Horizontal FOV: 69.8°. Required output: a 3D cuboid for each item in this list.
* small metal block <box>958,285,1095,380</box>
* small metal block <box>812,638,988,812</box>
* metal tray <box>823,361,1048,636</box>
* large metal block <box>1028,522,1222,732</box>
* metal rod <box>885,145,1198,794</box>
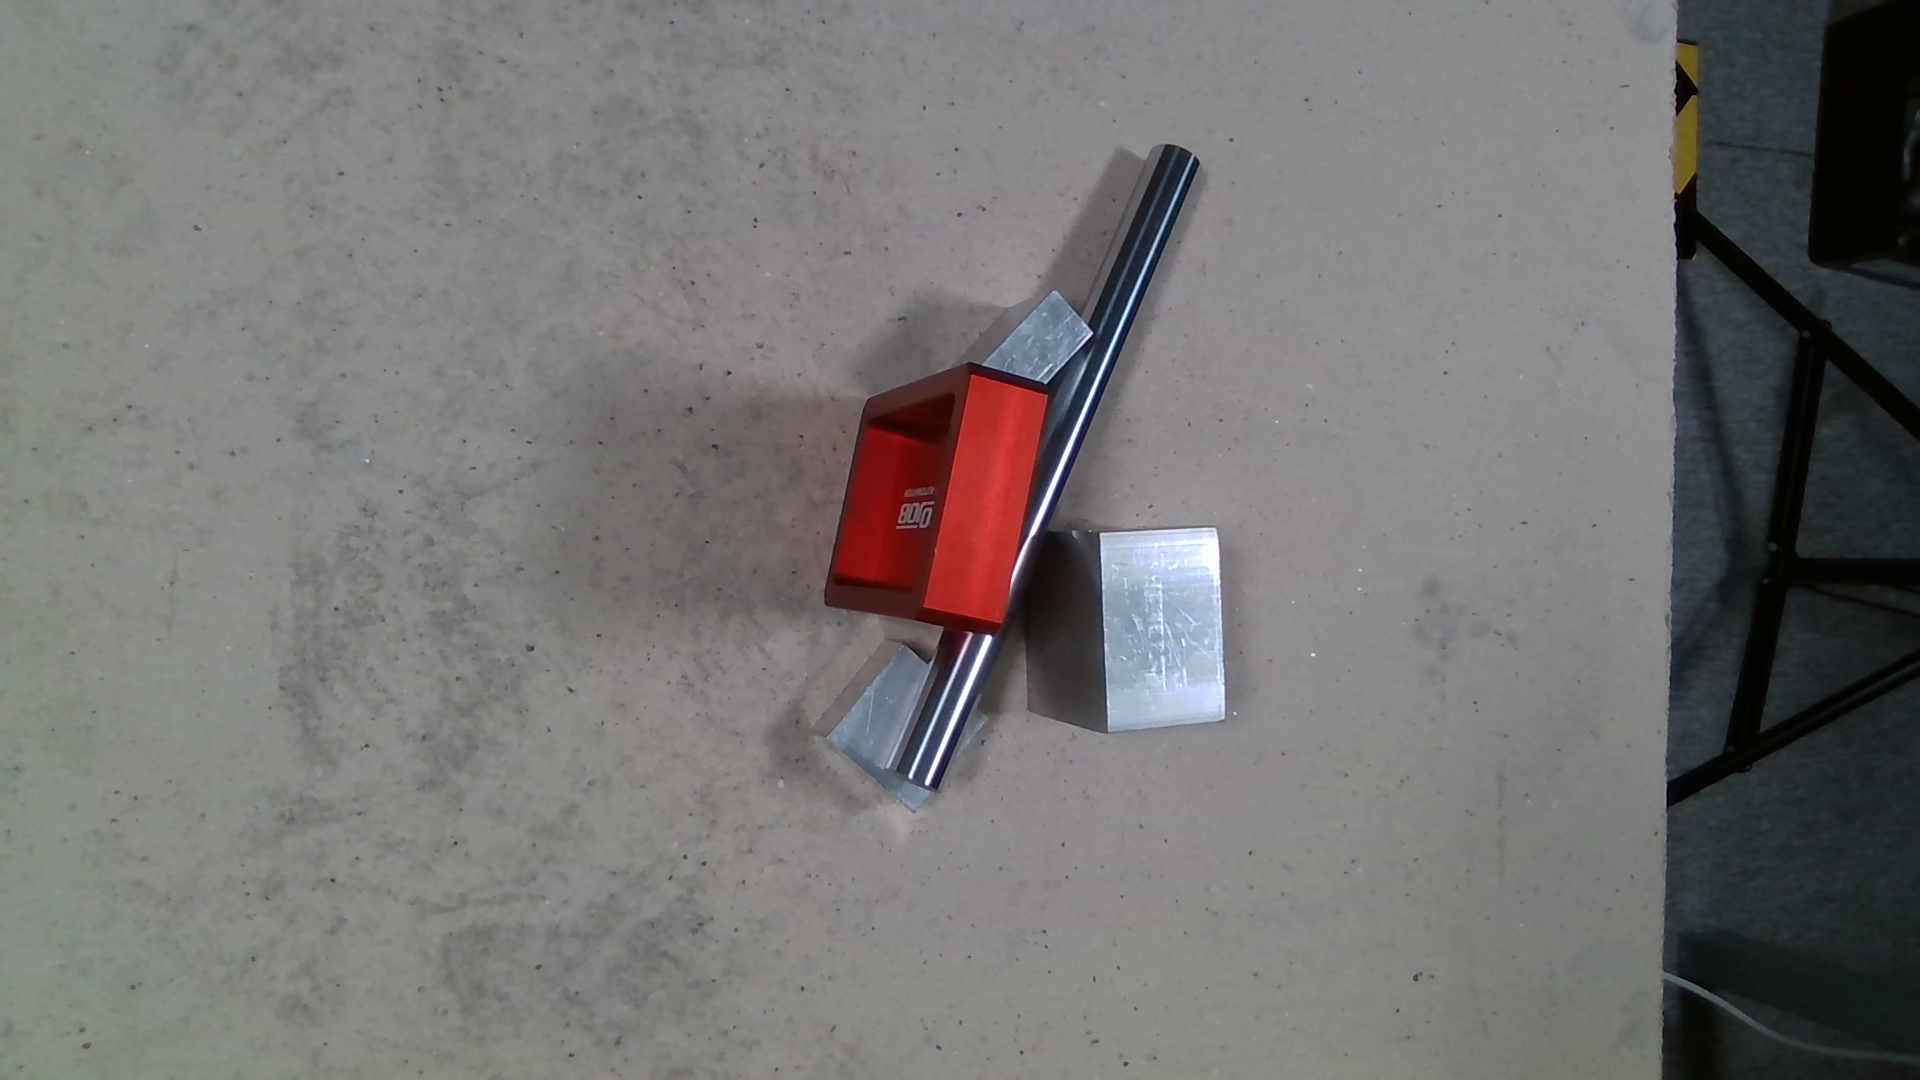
[{"bbox_3d":[0.022,-0.077,0.580,0.025,0.050,0.050,46,75,-14],"label":"small metal block"},{"bbox_3d":[-0.025,0.077,0.578,0.050,0.025,0.050,43,76,-15],"label":"small metal block"},{"bbox_3d":[-0.014,-0.014,0.525,0.030,0.130,0.090,13,85,-20],"label":"metal tray"},{"bbox_3d":[0.066,0.034,0.580,0.050,0.080,0.080,-2,91,-20],"label":"large metal block"},{"bbox_3d":[0.039,-0.037,0.586,0.025,0.025,0.299,28,76,-18],"label":"metal rod"}]
